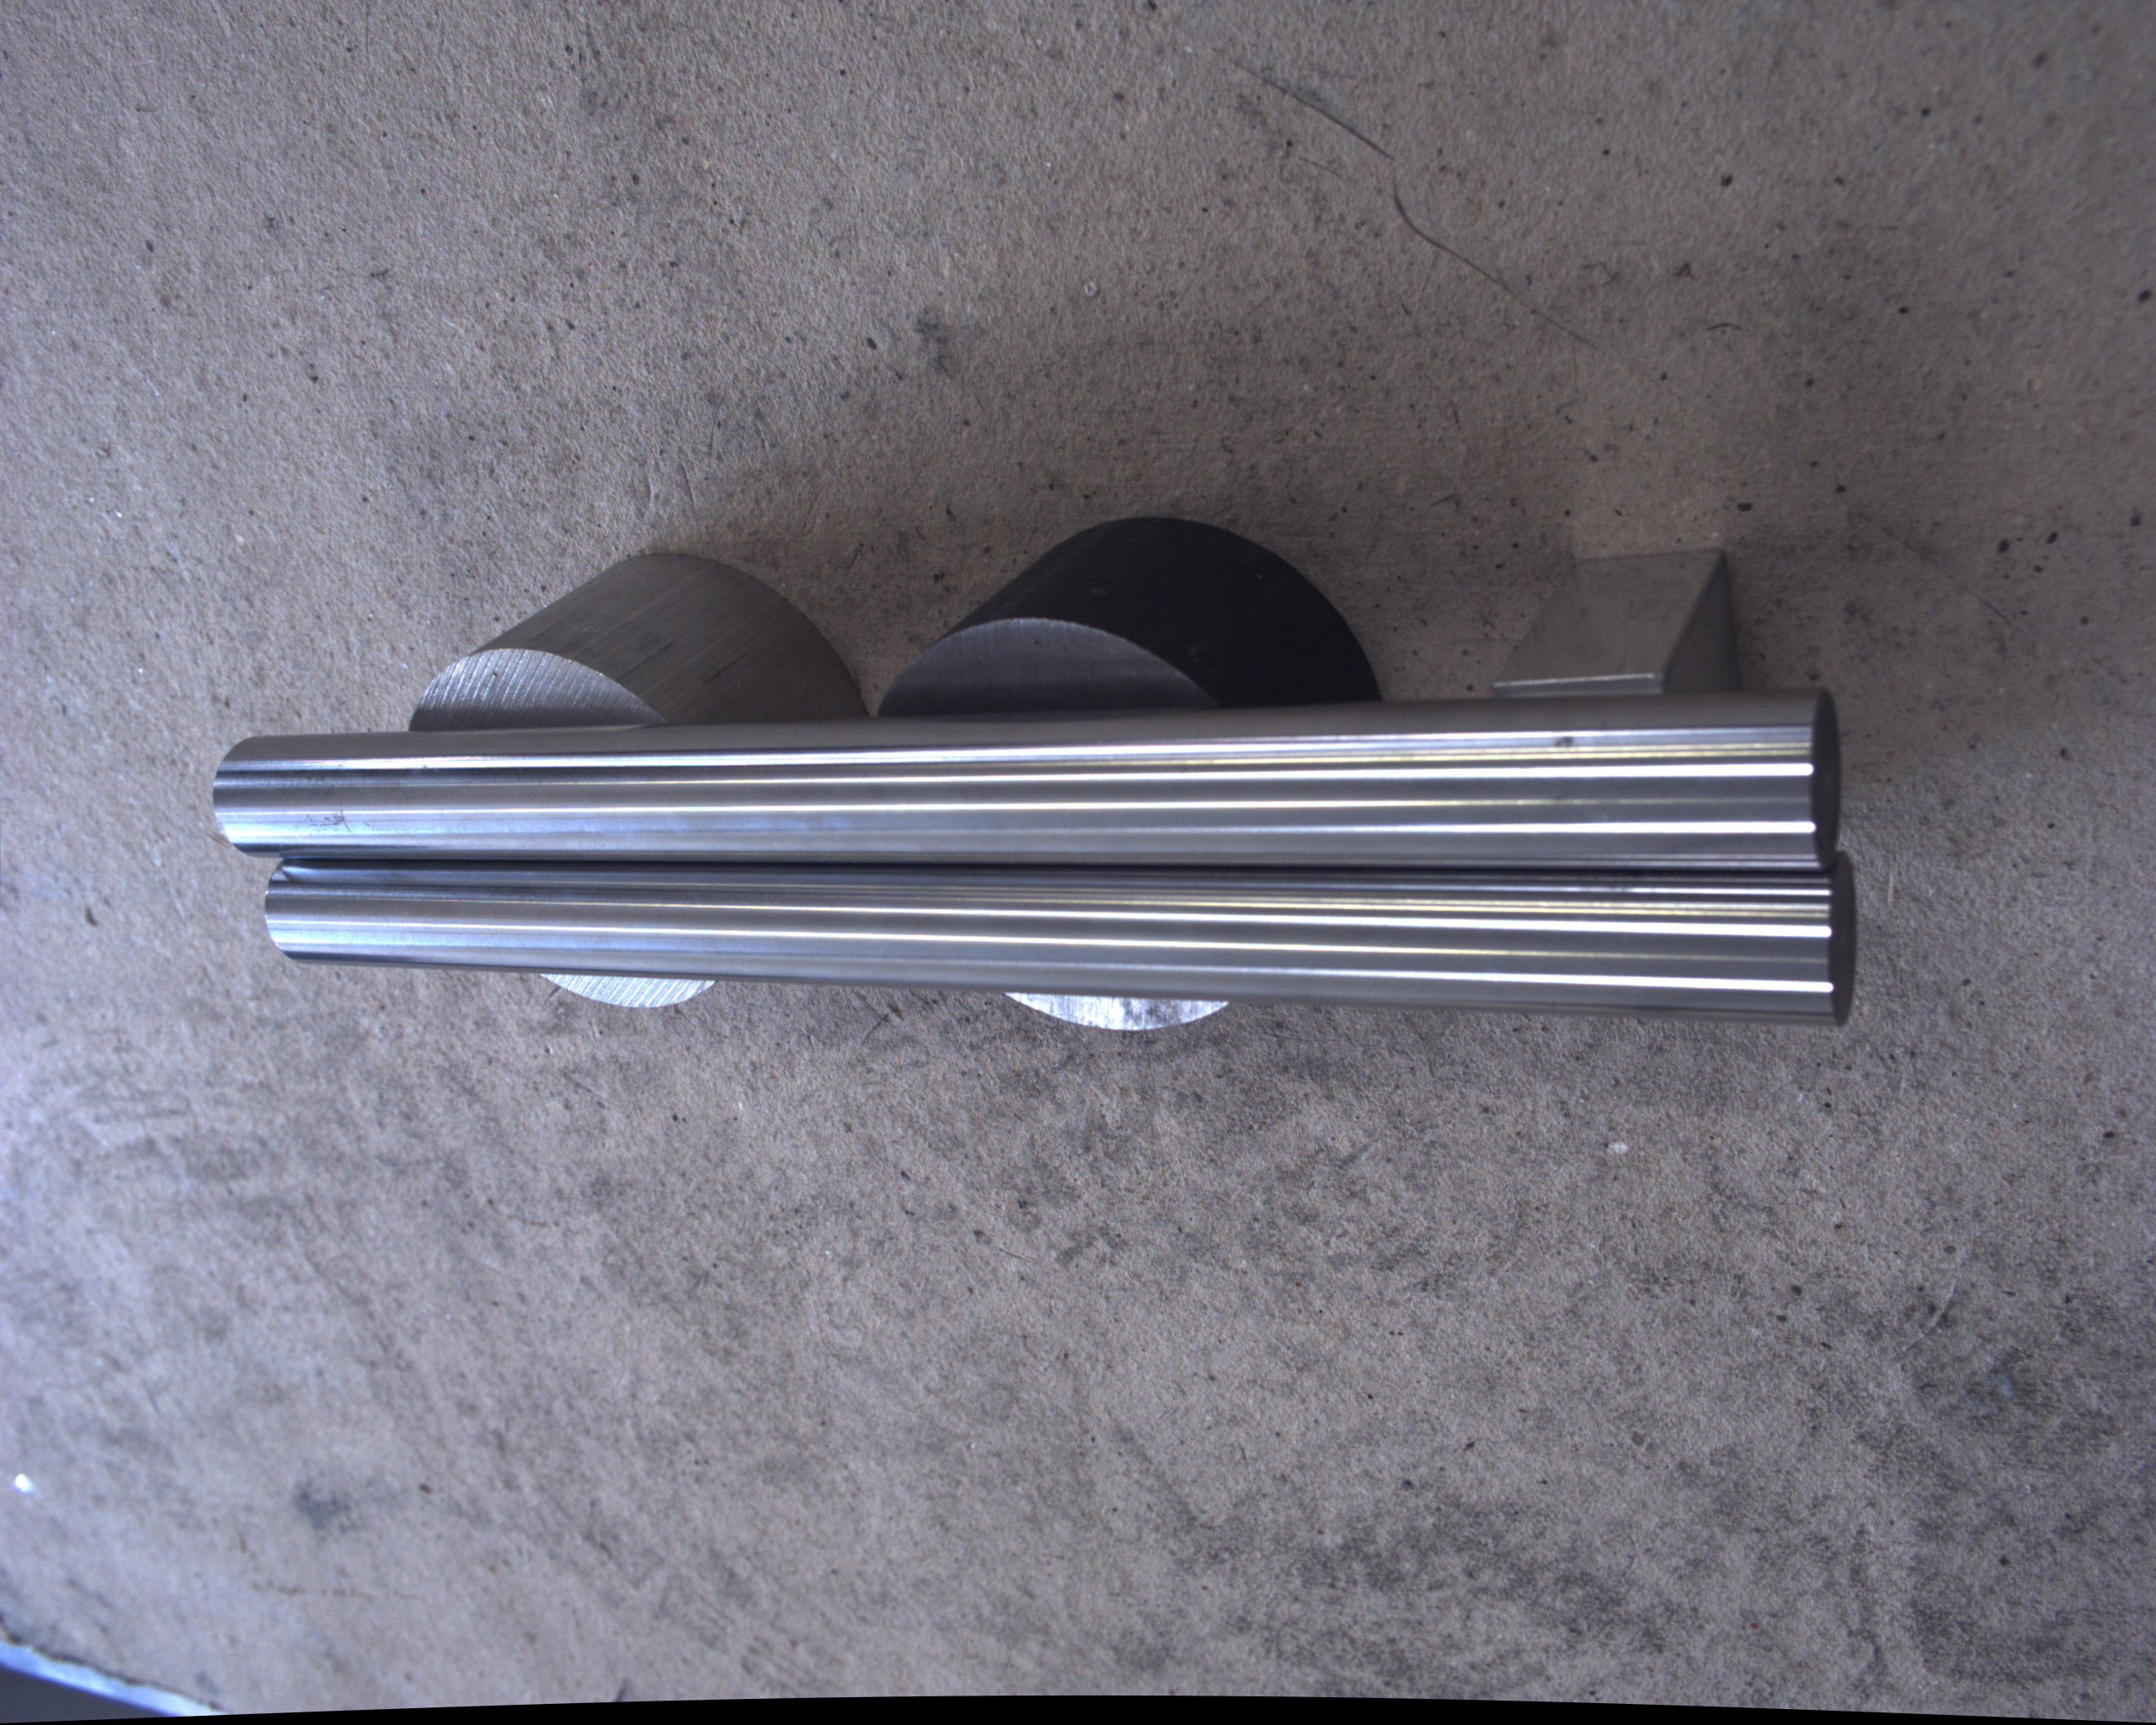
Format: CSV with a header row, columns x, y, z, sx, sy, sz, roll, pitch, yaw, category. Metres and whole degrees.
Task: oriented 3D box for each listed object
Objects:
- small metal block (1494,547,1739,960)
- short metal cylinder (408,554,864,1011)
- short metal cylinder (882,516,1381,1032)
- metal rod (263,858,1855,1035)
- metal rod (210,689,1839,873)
x,y,z,sx,sy,sz,roll,pitch,yaw,category
0.090,-0.017,0.336,0.025,0.050,0.050,-2,117,29,small metal block
-0.089,-0.017,0.427,0.080,0.050,0.079,13,124,21,short metal cylinder
0.010,-0.016,0.378,0.080,0.050,0.079,13,124,21,short metal cylinder
-0.026,0.011,0.363,0.300,0.025,0.025,0,119,28,metal rod
-0.032,-0.012,0.352,0.300,0.025,0.025,0,119,28,metal rod
